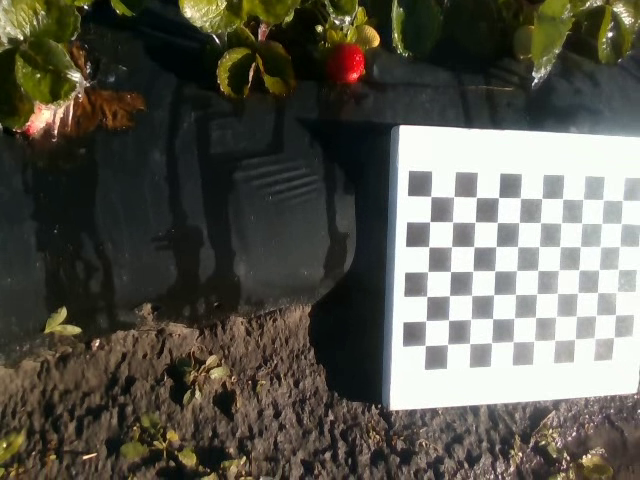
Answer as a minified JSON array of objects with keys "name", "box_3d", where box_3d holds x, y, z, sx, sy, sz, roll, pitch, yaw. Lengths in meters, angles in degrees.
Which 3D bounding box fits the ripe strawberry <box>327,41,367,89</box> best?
[{"name":"ripe strawberry","box_3d":[0.020,-0.123,0.421,0.039,0.040,0.039,-9,32,-3]}]
